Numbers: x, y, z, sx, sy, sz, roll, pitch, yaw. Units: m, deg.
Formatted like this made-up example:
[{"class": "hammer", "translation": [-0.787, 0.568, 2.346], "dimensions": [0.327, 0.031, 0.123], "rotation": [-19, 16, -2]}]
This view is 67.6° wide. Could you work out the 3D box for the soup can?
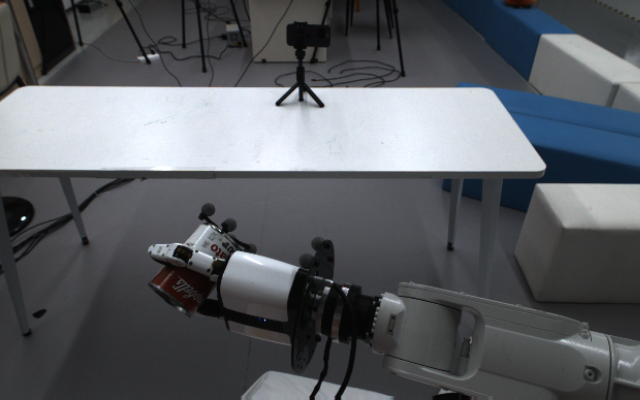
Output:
[{"class": "soup can", "translation": [-0.155, 0.087, 0.609], "dimensions": [0.067, 0.067, 0.101], "rotation": [23, 60, 27]}]
